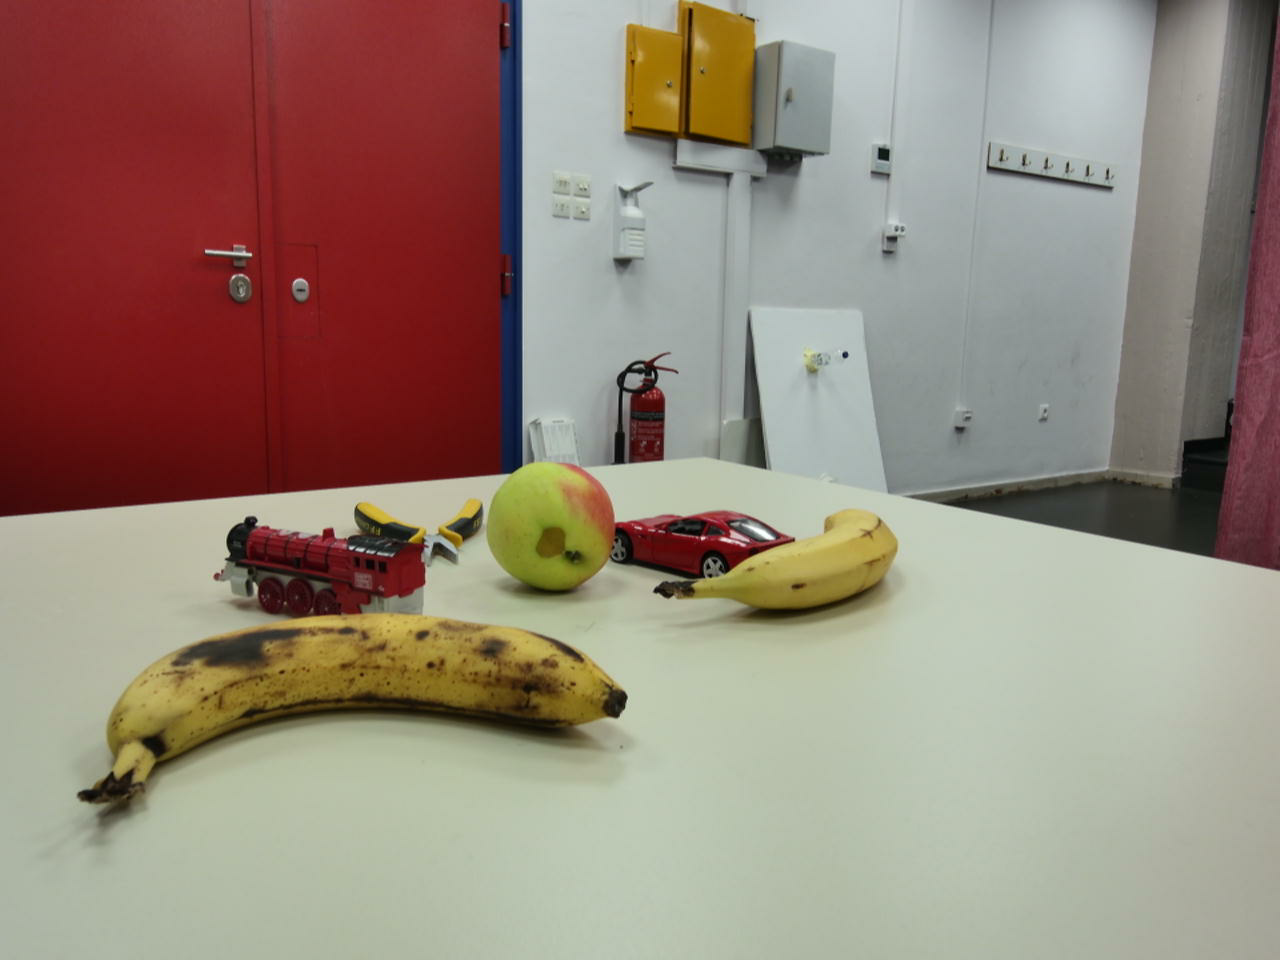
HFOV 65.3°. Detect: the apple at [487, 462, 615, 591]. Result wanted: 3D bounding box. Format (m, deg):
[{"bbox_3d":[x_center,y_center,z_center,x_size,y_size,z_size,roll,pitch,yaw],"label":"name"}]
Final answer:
[{"bbox_3d":[-0.051,0.027,0.589,0.075,0.074,0.075,6,9,34],"label":"apple"}]
